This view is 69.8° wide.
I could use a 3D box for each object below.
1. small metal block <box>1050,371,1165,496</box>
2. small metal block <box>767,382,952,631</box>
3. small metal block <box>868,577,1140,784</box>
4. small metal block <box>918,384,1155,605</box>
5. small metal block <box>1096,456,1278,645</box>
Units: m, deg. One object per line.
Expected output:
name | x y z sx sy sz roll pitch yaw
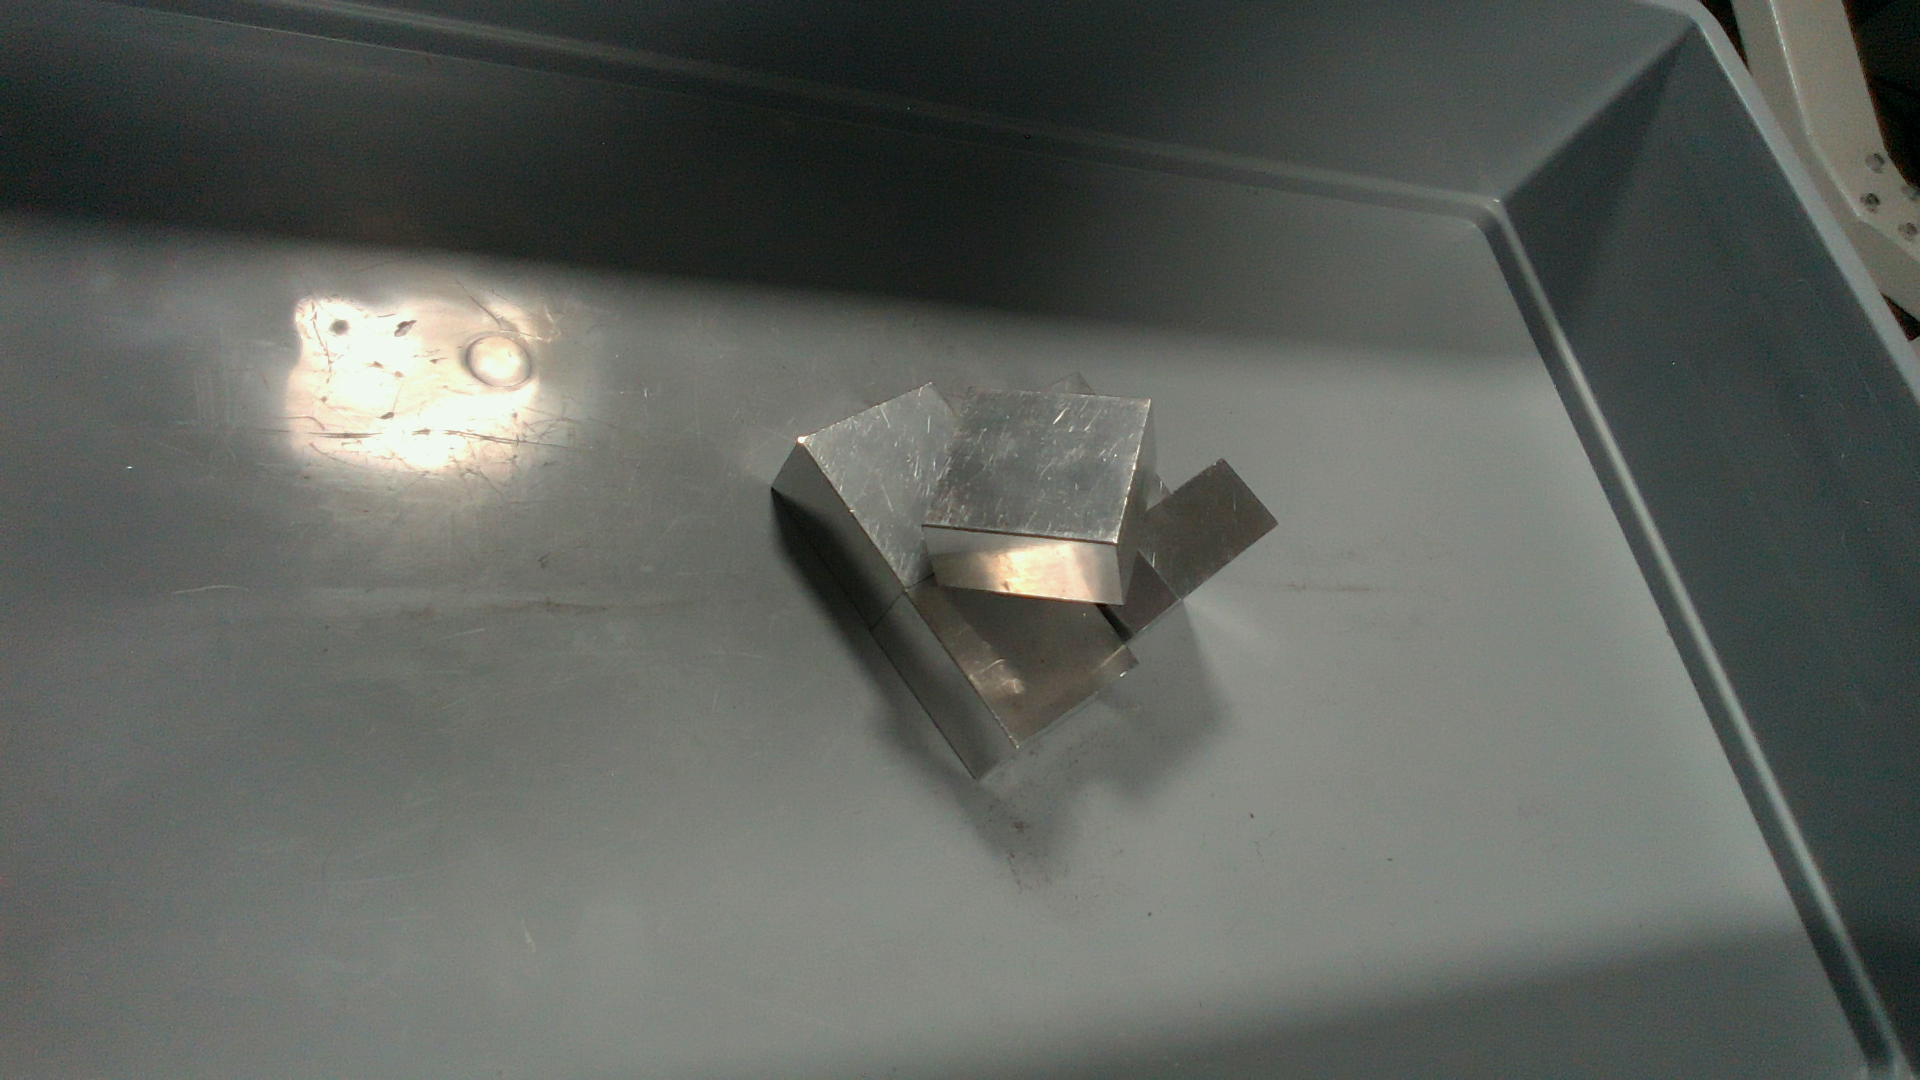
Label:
small metal block | 0.028 -0.017 0.414 0.050 0.025 0.050 -28 77 -37
small metal block | -0.017 -0.010 0.386 0.050 0.025 0.050 -28 77 -37
small metal block | 0.012 0.030 0.377 0.050 0.025 0.050 -28 77 -37
small metal block | 0.022 -0.013 0.360 0.050 0.025 0.050 5 51 16
small metal block | 0.056 0.008 0.397 0.050 0.050 0.025 -32 79 -39
